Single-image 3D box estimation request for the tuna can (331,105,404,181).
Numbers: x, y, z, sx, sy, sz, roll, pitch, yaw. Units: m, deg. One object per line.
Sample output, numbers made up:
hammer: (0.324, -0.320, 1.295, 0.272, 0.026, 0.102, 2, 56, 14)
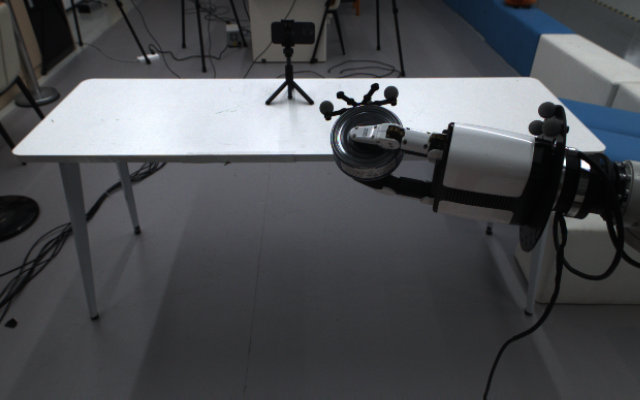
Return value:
tuna can: (0.058, -0.070, 0.565, 0.085, 0.034, 0.085, -4, 68, 9)
